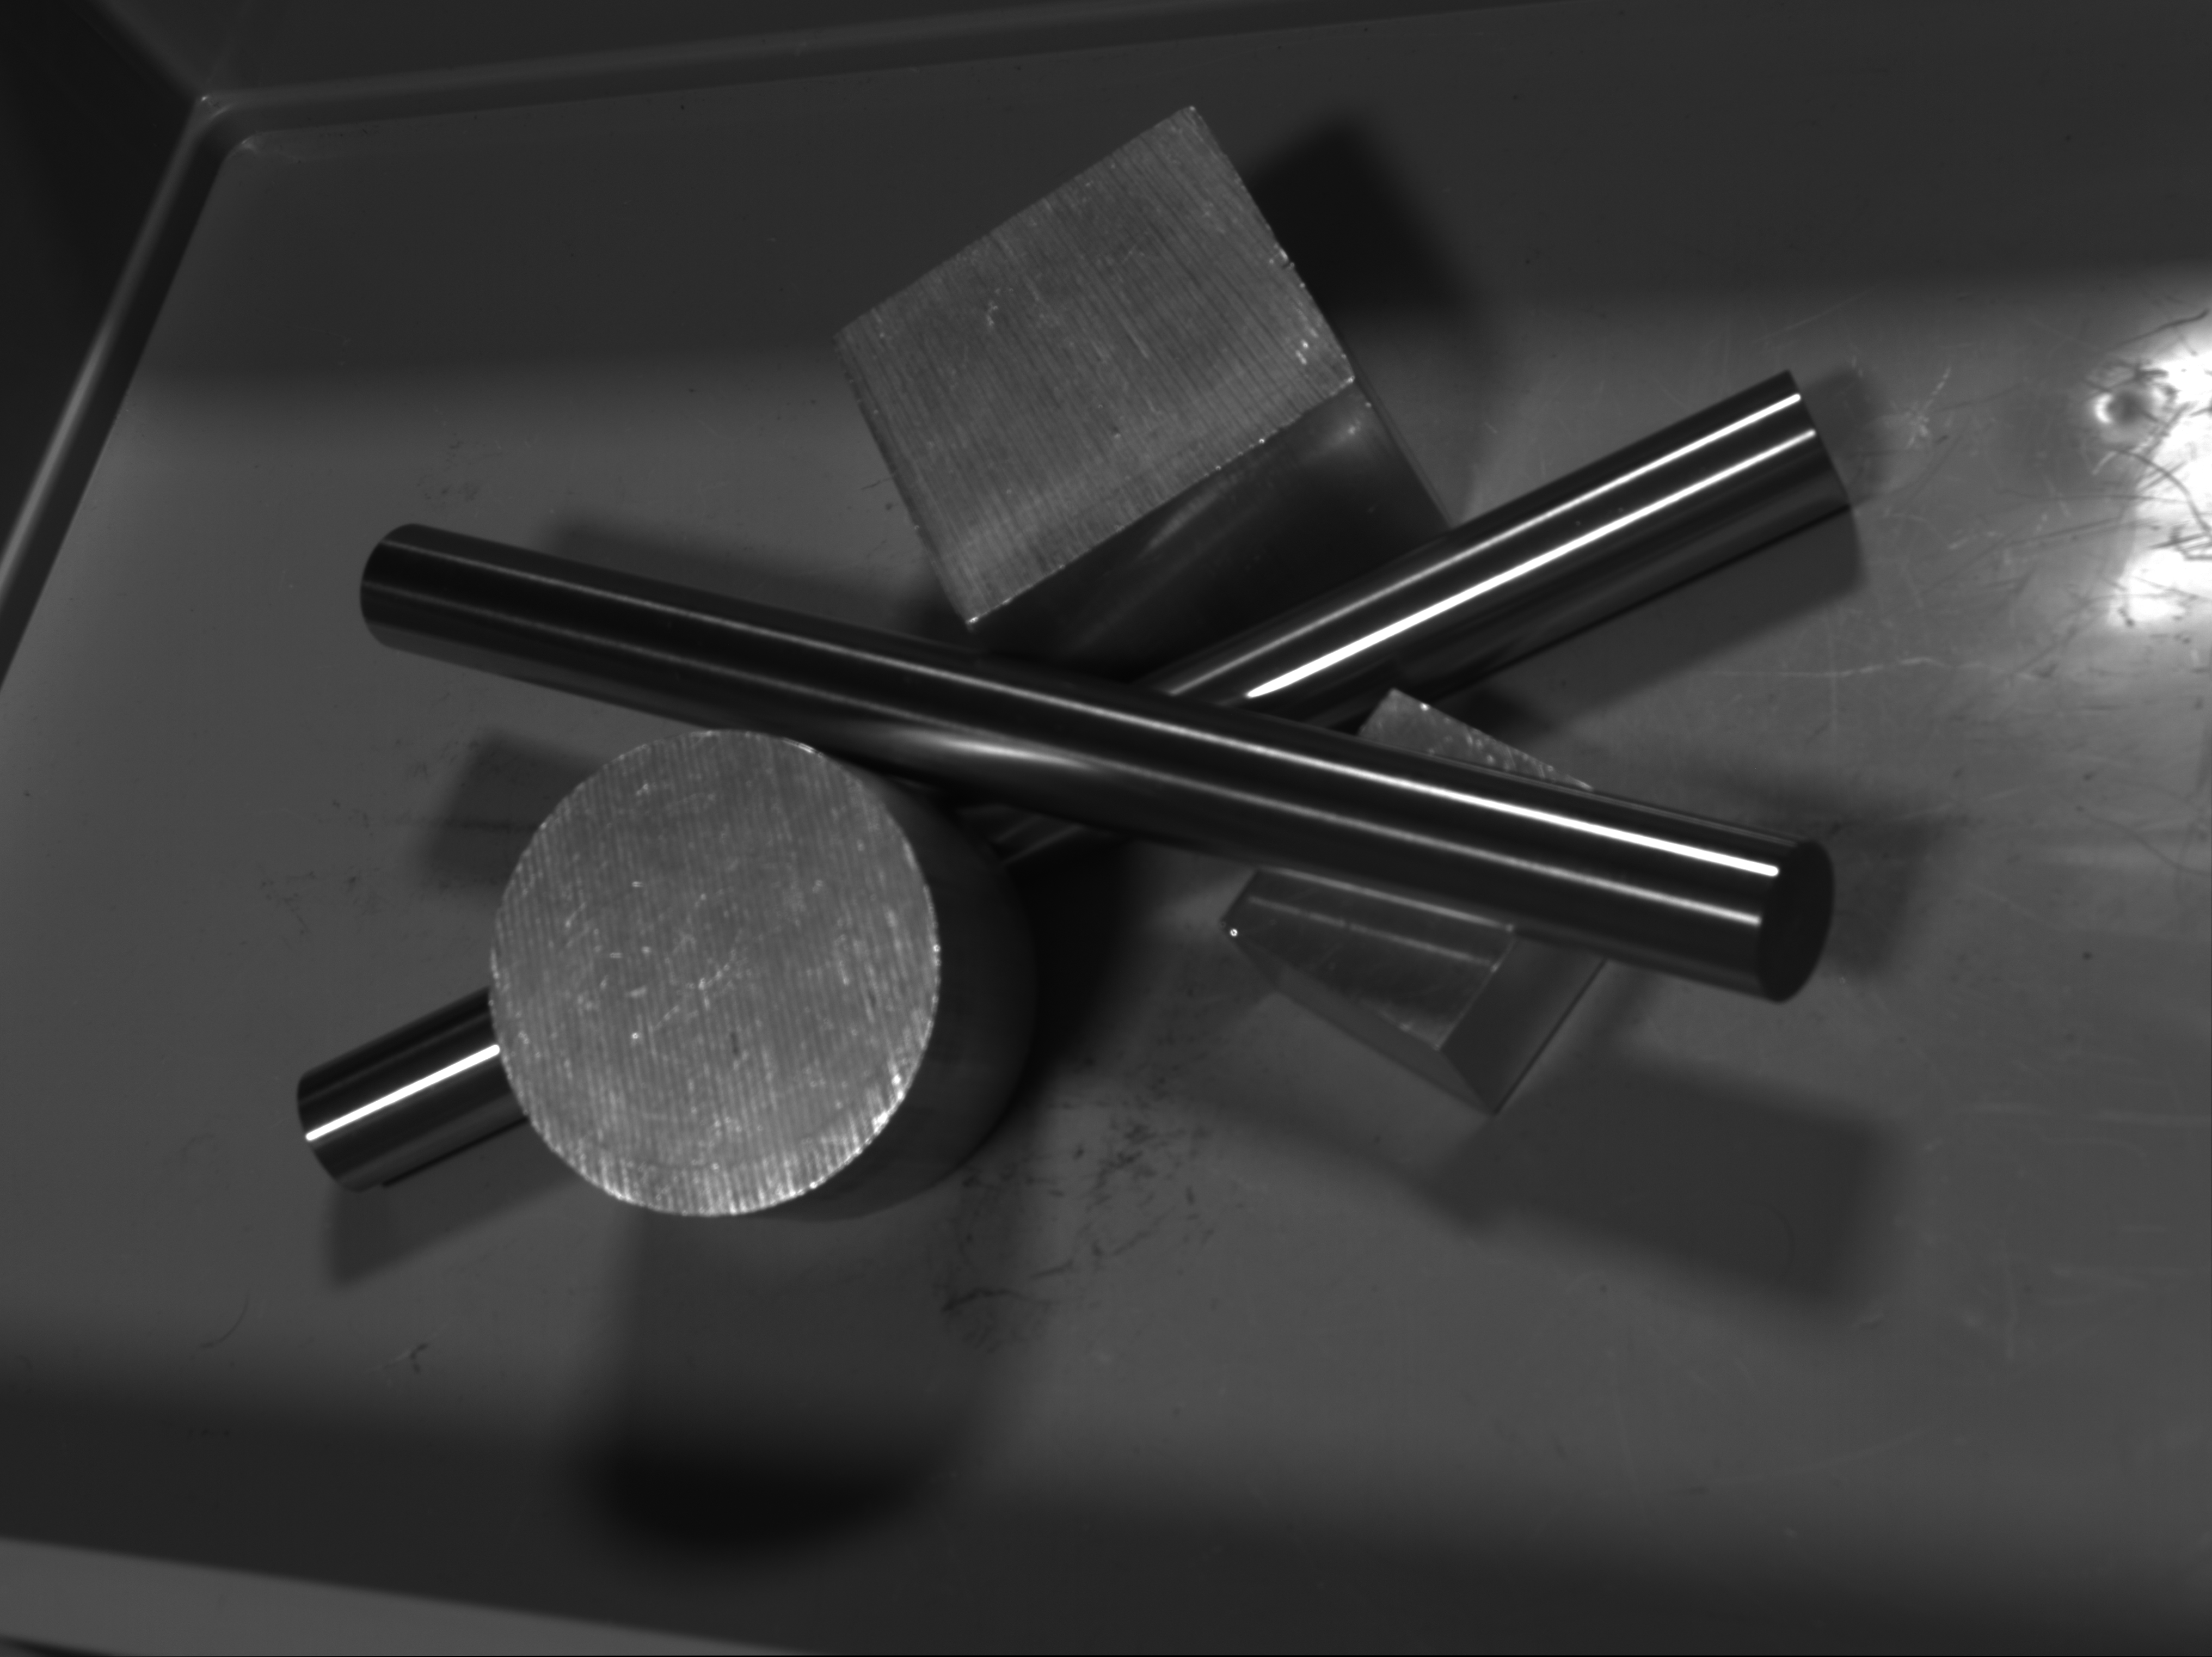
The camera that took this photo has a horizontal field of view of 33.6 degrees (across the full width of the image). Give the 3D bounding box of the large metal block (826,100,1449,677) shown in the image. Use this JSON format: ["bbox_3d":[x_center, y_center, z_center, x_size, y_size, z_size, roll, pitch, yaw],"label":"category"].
[{"bbox_3d":[0.006,-0.072,0.667,0.080,0.050,0.080,-31,51,8],"label":"large metal block"}]

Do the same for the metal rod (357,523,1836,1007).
[{"bbox_3d":[-0.017,-0.016,0.630,0.299,0.025,0.025,14,69,34],"label":"metal rod"}]

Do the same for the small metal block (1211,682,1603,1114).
[{"bbox_3d":[0.055,0.011,0.605,0.050,0.025,0.050,30,78,38],"label":"small metal block"}]

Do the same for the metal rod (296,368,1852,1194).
[{"bbox_3d":[-0.012,-0.005,0.652,0.300,0.025,0.025,-25,52,13],"label":"metal rod"}]

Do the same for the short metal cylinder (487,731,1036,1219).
[{"bbox_3d":[-0.058,0.027,0.623,0.080,0.050,0.080,-2,83,17],"label":"short metal cylinder"}]
